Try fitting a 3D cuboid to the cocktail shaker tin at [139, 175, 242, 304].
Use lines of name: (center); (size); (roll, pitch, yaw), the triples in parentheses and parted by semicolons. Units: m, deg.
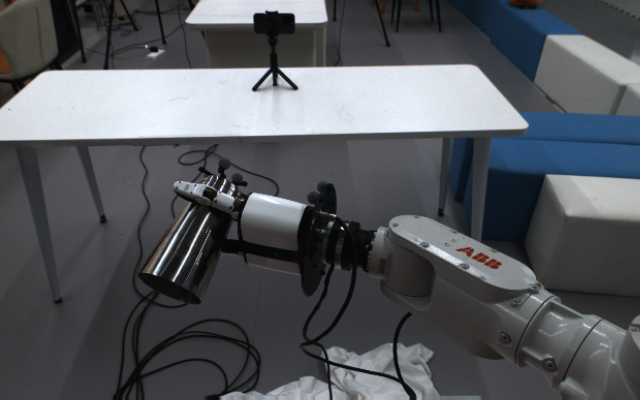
cocktail shaker tin: (-0.176, 0.048, 0.690); (0.093, 0.093, 0.170); (13, 59, 16)
